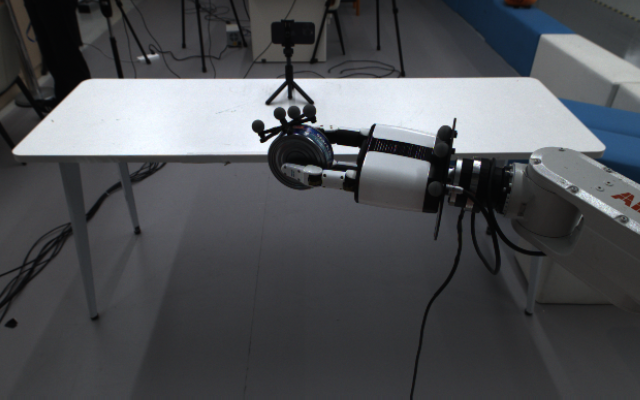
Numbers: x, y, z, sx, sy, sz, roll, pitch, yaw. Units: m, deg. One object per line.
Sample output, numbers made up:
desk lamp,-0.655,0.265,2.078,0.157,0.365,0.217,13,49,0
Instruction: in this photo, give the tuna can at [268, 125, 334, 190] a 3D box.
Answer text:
tuna can,-0.023,-0.051,0.655,0.085,0.085,0.034,11,34,13
